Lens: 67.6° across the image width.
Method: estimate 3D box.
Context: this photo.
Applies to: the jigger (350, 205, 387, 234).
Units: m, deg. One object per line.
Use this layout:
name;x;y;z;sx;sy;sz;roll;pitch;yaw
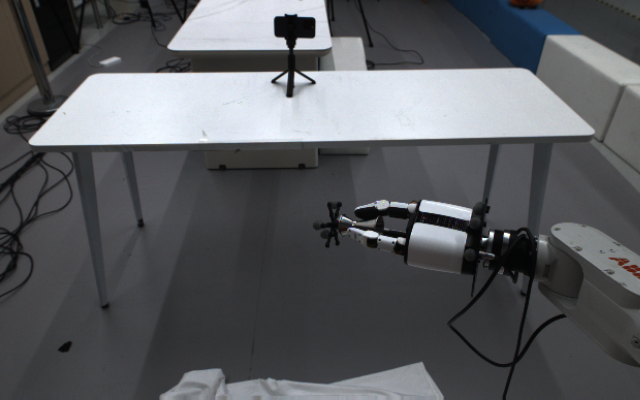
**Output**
jigger;0.077;0.038;0.821;0.071;0.043;0.043;2;32;26
